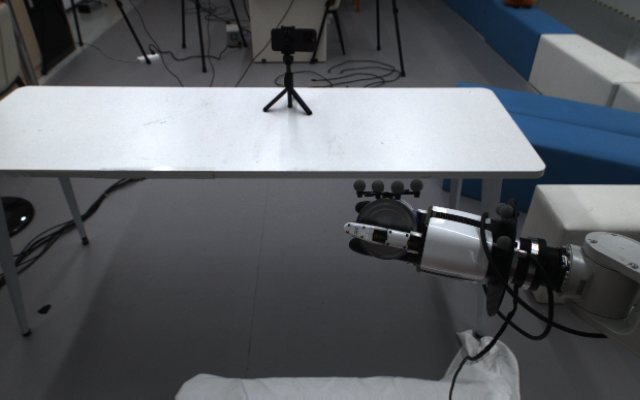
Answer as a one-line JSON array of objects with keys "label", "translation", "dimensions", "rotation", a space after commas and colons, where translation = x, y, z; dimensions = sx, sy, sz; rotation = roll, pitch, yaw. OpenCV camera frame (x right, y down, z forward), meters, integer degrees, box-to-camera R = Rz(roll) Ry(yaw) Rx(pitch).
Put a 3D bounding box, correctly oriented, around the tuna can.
[{"label": "tuna can", "translation": [0.096, 0.037, 0.676], "dimensions": [0.085, 0.085, 0.034], "rotation": [15, 10, 18]}]
